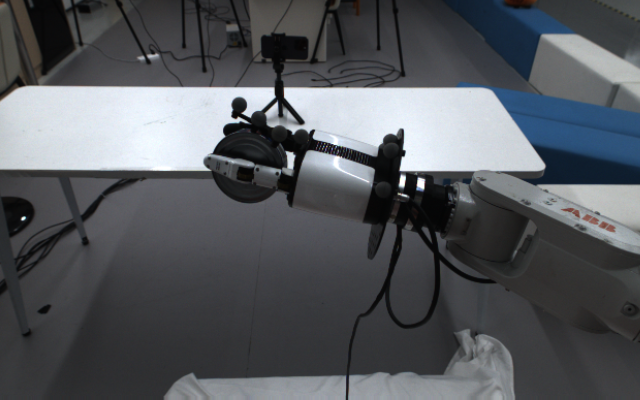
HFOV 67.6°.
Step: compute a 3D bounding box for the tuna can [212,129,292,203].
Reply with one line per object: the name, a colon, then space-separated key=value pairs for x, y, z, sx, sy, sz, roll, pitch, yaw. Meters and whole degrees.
tuna can: x=-0.081 y=-0.042 z=0.572 sx=0.085 sy=0.085 sz=0.034 roll=7 pitch=16 yaw=6
